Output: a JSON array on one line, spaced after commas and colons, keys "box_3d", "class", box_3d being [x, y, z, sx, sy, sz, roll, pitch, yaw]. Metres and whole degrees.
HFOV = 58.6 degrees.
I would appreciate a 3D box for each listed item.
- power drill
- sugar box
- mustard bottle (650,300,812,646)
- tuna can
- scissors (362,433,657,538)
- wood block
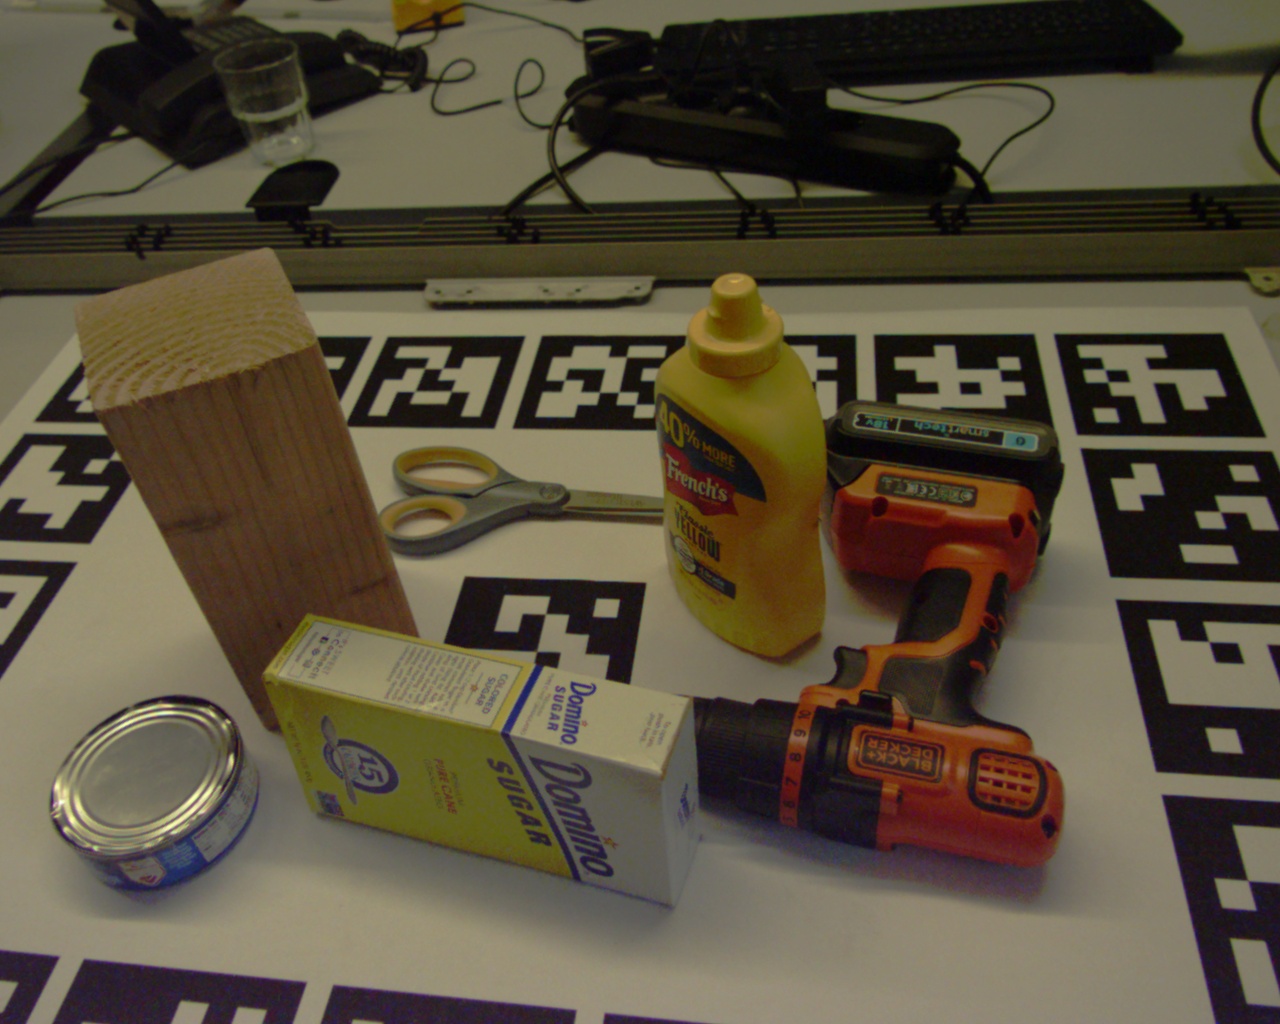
[{"box_3d": [0.091, 0.055, 0.562, 0.186, 0.057, 0.186, 11, 55, 19], "class": "power drill"}, {"box_3d": [-0.062, 0.104, 0.515, 0.178, 0.092, 0.045, 11, 45, 16], "class": "sugar box"}, {"box_3d": [0.044, -0.023, 0.564, 0.058, 0.190, 0.097, -29, 50, -19], "class": "mustard bottle"}, {"box_3d": [-0.225, 0.124, 0.554, 0.086, 0.033, 0.086, -4, 46, 3], "class": "tuna can"}, {"box_3d": [-0.080, -0.015, 0.685, 0.204, 0.016, 0.088, 2, 42, 11], "class": "scissors"}, {"box_3d": [-0.178, -0.004, 0.571, 0.090, 0.205, 0.091, -20, 47, -11], "class": "wood block"}]
